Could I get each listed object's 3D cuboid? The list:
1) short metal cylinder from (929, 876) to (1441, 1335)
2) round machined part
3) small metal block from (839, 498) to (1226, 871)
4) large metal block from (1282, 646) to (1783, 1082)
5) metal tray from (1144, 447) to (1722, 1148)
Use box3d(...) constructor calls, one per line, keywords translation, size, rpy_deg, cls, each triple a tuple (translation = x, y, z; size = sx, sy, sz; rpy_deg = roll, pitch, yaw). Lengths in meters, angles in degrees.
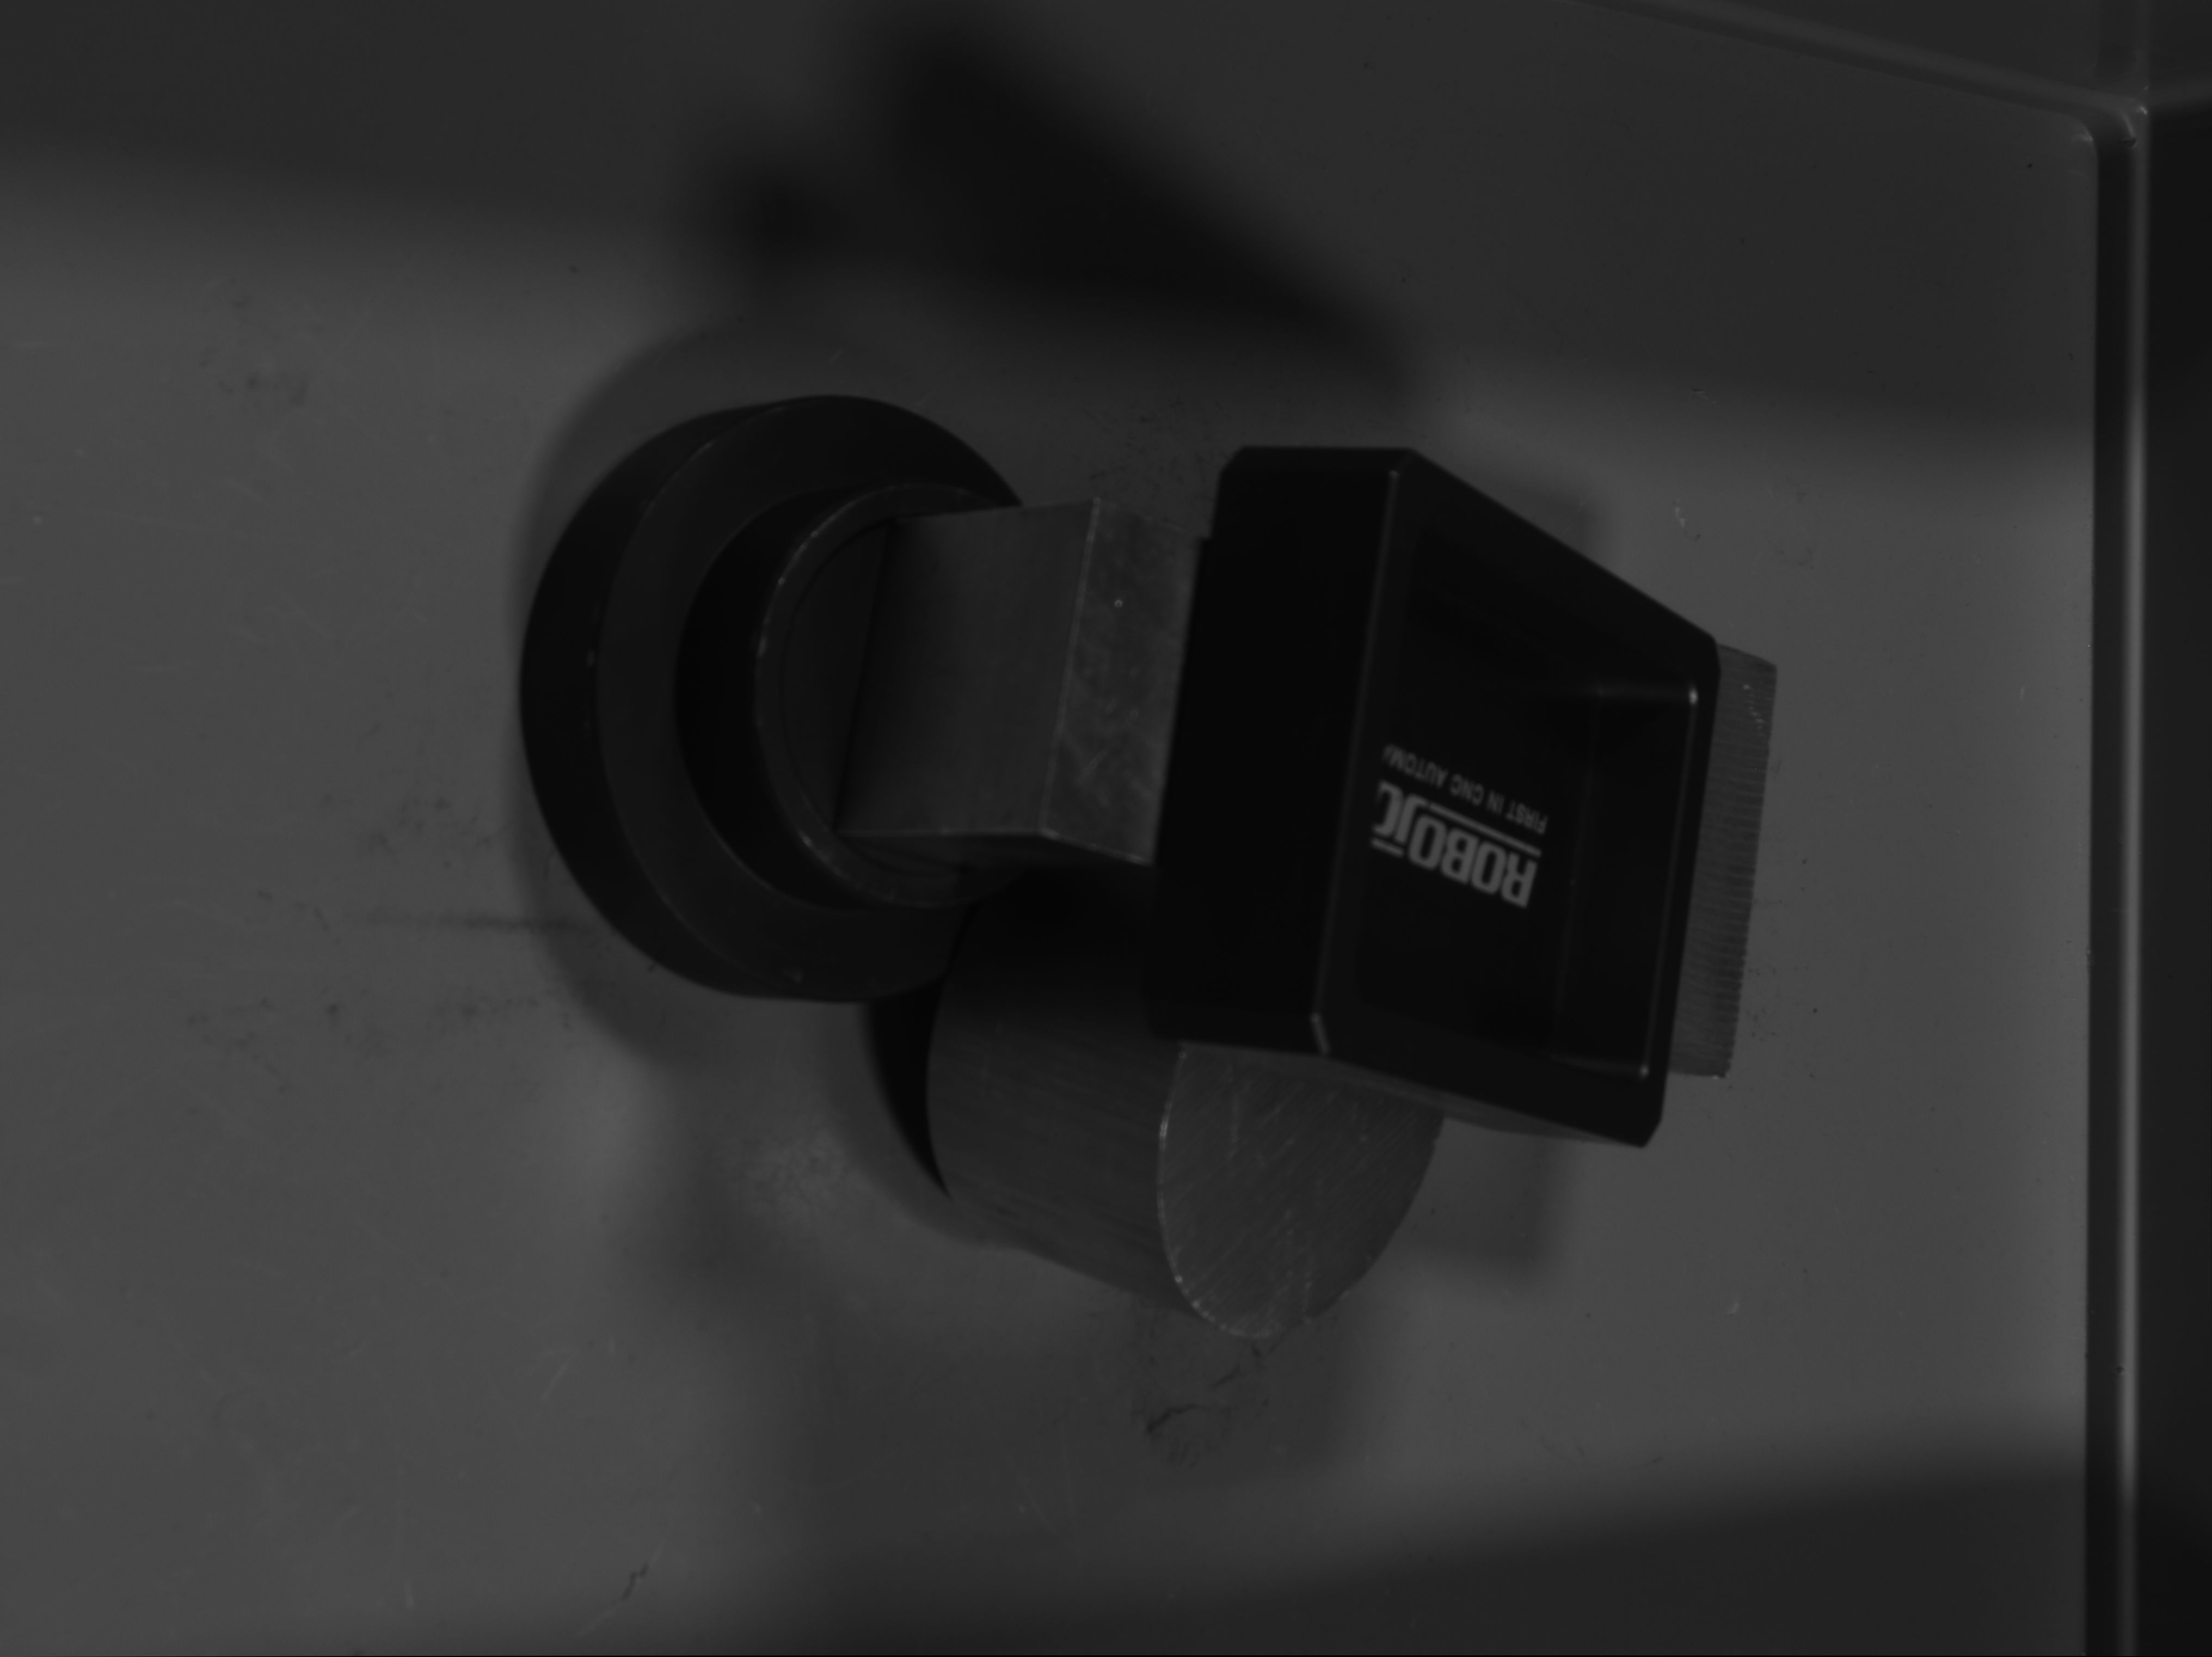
box3d(translation=(0.016, 0.039, 0.617), size=(0.080, 0.050, 0.080), rpy_deg=(-22, 119, -46), cls="short metal cylinder")
box3d(translation=(-0.041, -0.021, 0.591), size=(0.098, 0.042, 0.098), rpy_deg=(0, 90, -40), cls="round machined part")
box3d(translation=(-0.012, -0.021, 0.555), size=(0.025, 0.050, 0.050), rpy_deg=(16, 80, -39), cls="small metal block")
box3d(translation=(0.076, 0.001, 0.682), size=(0.080, 0.050, 0.080), rpy_deg=(13, 82, -39), cls="large metal block")
box3d(translation=(0.057, -0.001, 0.588), size=(0.130, 0.030, 0.090), rpy_deg=(20, 77, -58), cls="metal tray")
